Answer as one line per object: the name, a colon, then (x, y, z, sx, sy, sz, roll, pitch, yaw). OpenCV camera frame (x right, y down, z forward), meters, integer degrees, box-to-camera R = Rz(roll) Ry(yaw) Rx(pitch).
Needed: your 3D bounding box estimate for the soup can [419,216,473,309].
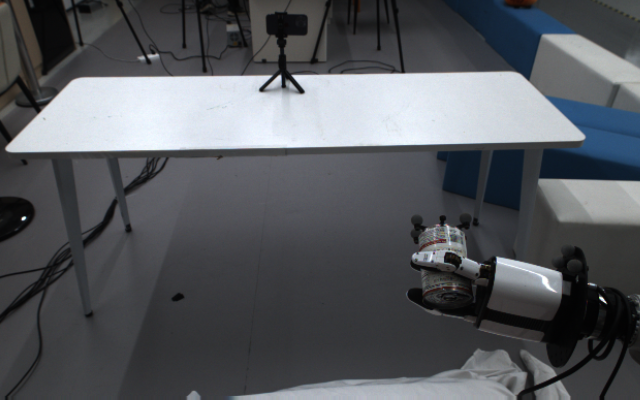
soup can: (0.176, 0.093, 0.679, 0.067, 0.067, 0.101, 3, 57, 1)
